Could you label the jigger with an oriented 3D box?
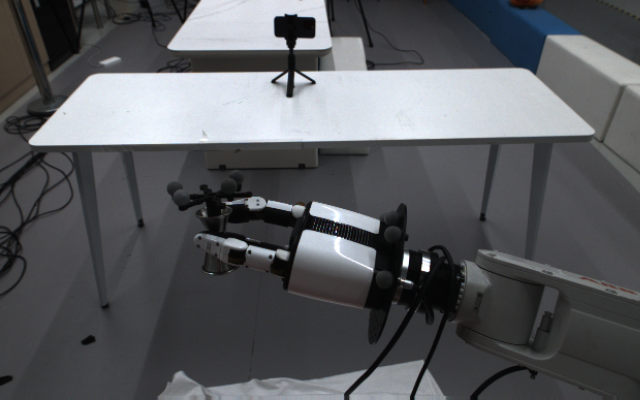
[{"bbox_3d":[-0.114,0.045,0.544,0.043,0.071,0.043,-2,19,1],"label":"jigger"}]
